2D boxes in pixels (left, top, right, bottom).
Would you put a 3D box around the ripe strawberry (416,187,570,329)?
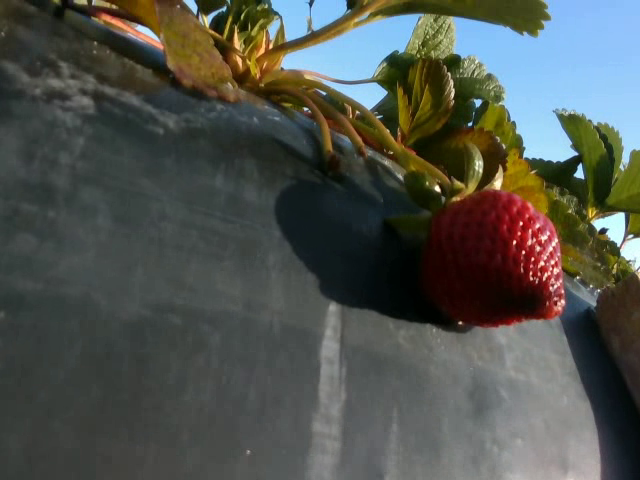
[{"bbox_3d":[0.044,0.007,0.148,0.040,0.036,0.044,13,32,-41],"label":"ripe strawberry"}]
